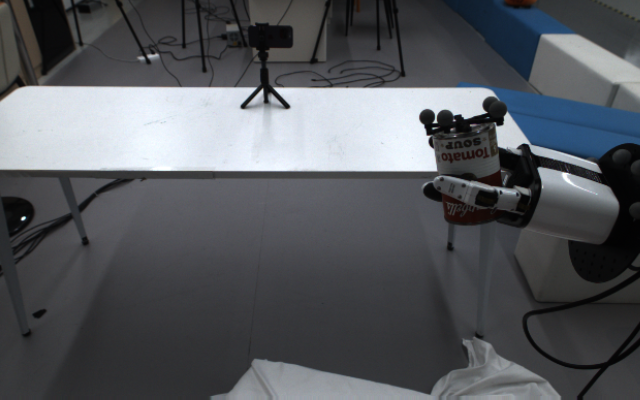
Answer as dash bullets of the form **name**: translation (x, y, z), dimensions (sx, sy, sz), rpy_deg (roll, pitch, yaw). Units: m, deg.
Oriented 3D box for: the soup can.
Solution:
- **soup can**: translation (0.167, -0.033, 0.540), dimensions (0.067, 0.101, 0.067), rpy_deg (-12, 17, 4)
